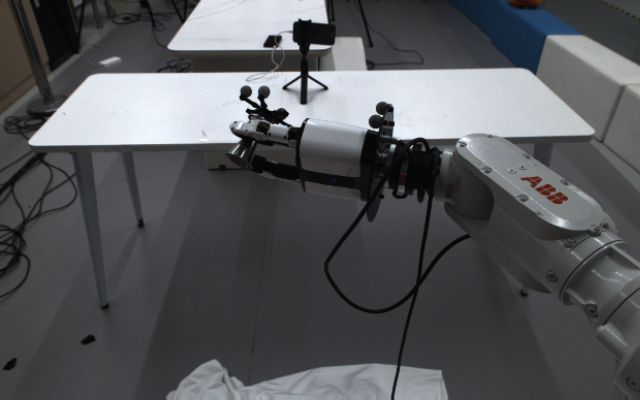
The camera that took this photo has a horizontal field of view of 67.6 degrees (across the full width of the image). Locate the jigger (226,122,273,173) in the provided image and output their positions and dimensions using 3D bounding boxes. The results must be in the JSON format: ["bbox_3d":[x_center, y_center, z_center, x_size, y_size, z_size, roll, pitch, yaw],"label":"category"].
[{"bbox_3d":[-0.102,-0.085,0.686,0.043,0.043,0.071,20,74,24],"label":"jigger"}]
